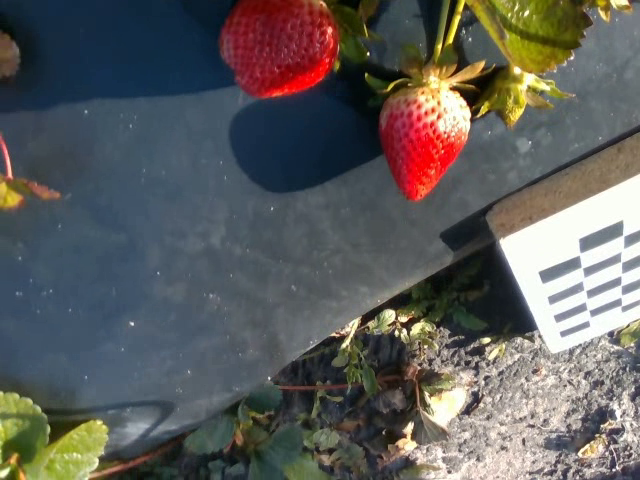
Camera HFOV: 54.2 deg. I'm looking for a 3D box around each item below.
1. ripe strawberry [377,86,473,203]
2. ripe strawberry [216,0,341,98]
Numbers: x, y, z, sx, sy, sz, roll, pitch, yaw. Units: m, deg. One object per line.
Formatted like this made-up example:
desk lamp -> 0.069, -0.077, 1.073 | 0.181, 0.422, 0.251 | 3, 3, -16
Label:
ripe strawberry -> 0.043, -0.038, 0.254 | 0.043, 0.053, 0.038 | -2, 14, -25
ripe strawberry -> -0.013, -0.076, 0.233 | 0.054, 0.039, 0.048 | -38, -30, -14
